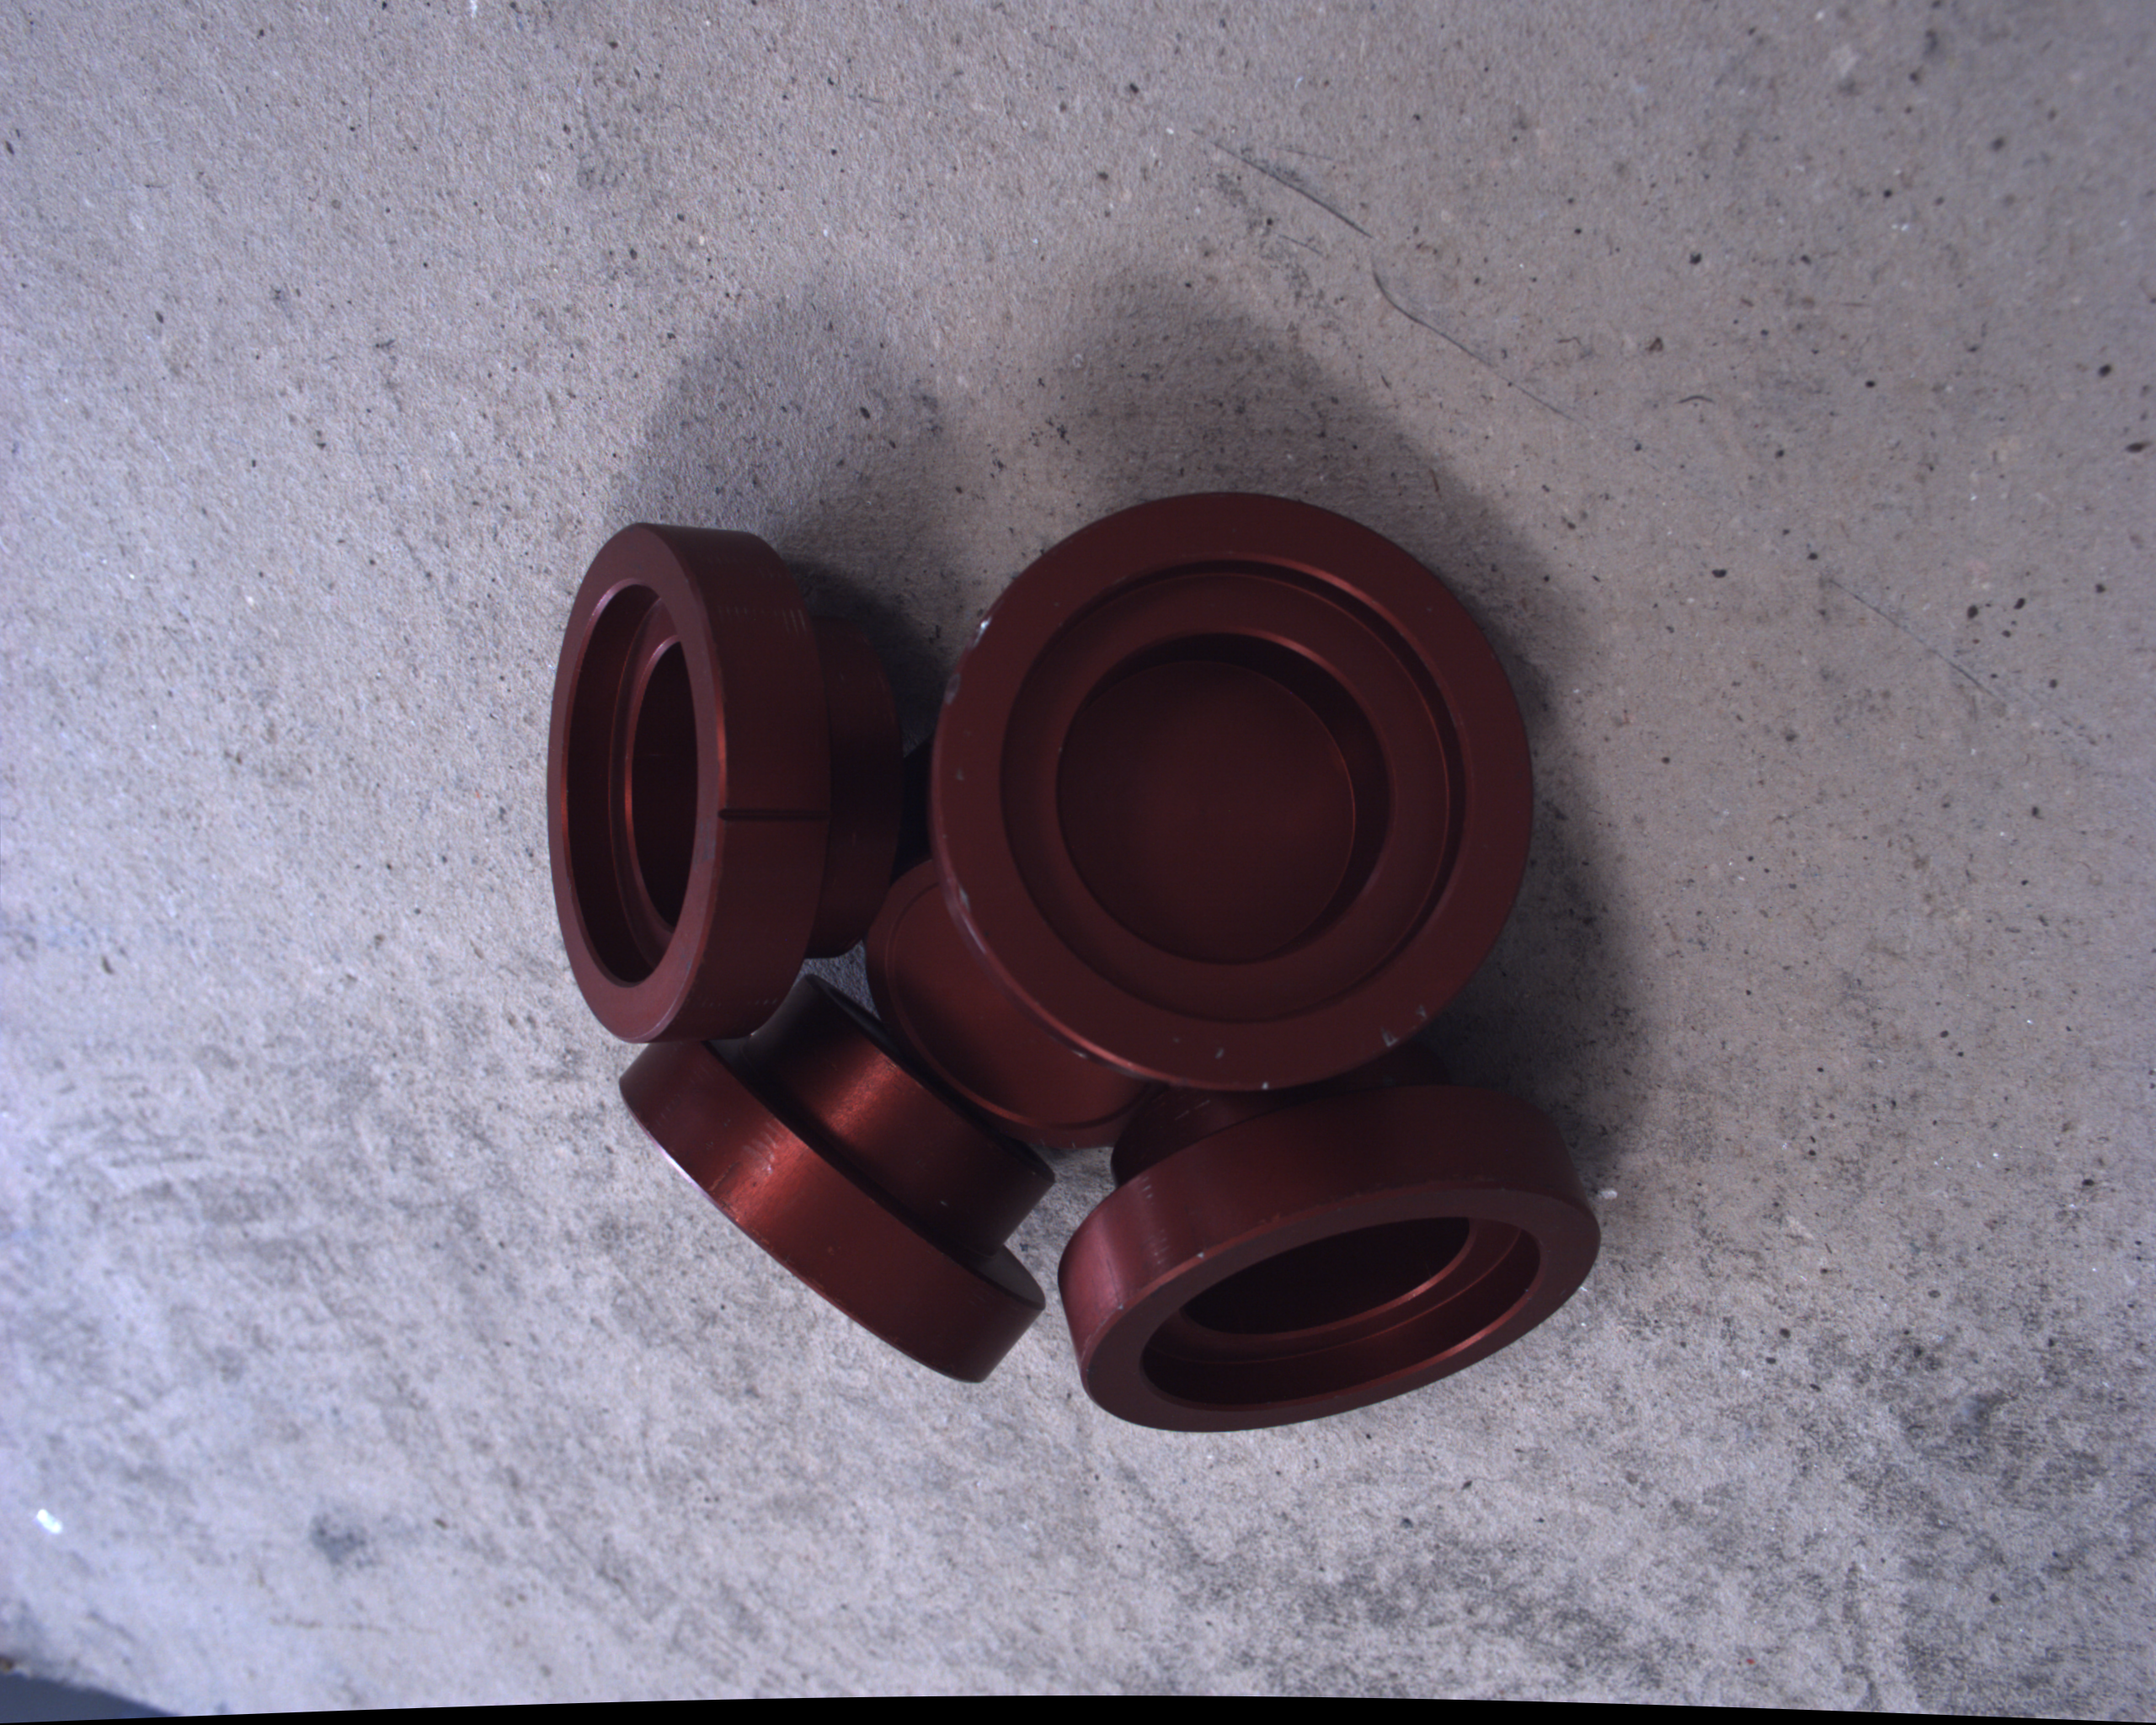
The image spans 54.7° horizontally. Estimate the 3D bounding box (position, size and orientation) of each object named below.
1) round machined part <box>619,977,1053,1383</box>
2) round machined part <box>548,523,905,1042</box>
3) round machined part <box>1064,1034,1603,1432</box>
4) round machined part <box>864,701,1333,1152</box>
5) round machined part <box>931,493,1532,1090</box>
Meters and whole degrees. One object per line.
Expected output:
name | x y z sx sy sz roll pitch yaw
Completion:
round machined part | -0.044 0.060 0.435 0.098 0.098 0.042 40 86 1
round machined part | -0.067 -0.015 0.403 0.098 0.042 0.097 -1 88 59
round machined part | 0.045 0.068 0.395 0.099 0.042 0.098 -11 144 -7
round machined part | -0.002 0.017 0.408 0.098 0.042 0.097 12 122 21
round machined part | 0.023 -0.010 0.356 0.098 0.098 0.042 42 170 -1
